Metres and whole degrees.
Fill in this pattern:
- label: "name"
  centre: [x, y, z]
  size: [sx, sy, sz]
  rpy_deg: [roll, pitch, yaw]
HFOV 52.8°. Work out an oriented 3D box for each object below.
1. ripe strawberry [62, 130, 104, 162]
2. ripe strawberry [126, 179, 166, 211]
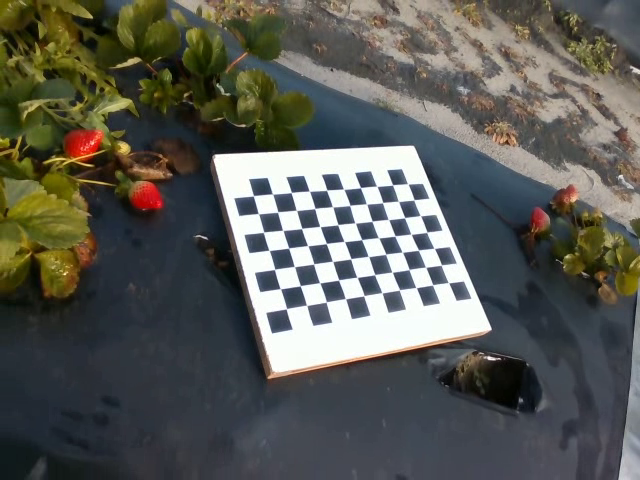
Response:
- label: "ripe strawberry"
  centre: [-0.253, -0.107, 0.682]
  size: [0.048, 0.040, 0.031]
  rpy_deg: [-34, -16, 9]
- label: "ripe strawberry"
  centre: [-0.186, -0.046, 0.678]
  size: [0.035, 0.043, 0.030]
  rpy_deg: [-48, -8, -36]
